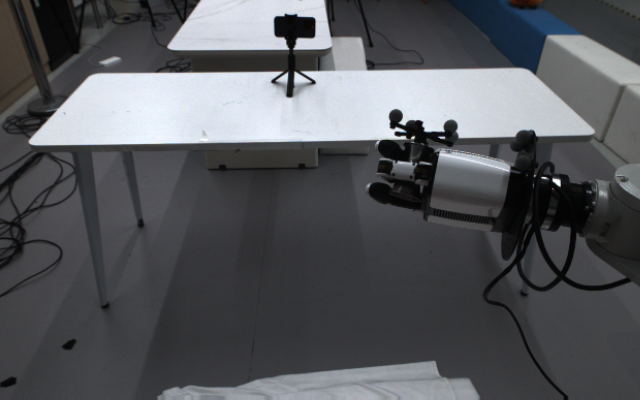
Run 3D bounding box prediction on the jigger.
[{"bbox_3d":[0.120,-0.036,0.619,0.043,0.071,0.043,16,-7,2],"label":"jigger"}]
